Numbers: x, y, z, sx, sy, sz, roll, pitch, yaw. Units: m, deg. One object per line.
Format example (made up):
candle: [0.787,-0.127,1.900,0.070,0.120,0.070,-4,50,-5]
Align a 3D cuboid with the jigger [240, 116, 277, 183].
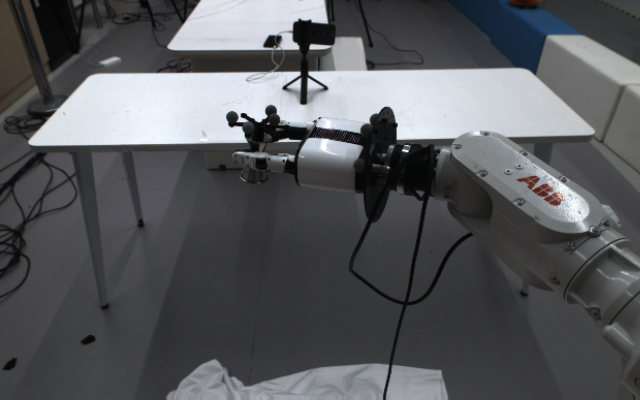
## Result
jigger: [-0.096,-0.064,0.723,0.043,0.071,0.043,9,30,-5]
